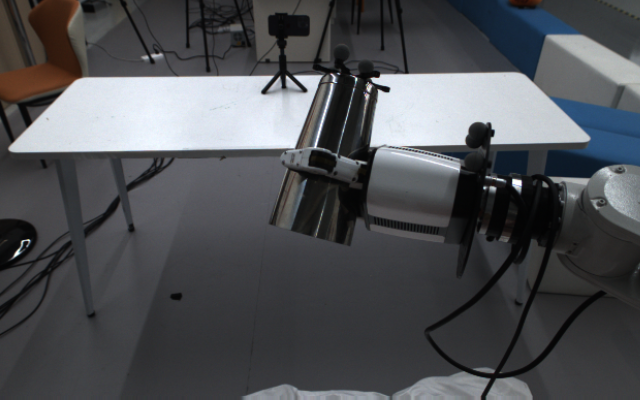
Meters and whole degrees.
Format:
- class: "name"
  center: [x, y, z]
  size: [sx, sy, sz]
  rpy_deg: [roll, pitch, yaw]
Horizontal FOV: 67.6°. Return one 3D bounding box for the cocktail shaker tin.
- class: "cocktail shaker tin"
  center: [0.012, -0.043, 0.525]
  size: [0.093, 0.170, 0.093]
  rpy_deg: [15, -4, 1]
